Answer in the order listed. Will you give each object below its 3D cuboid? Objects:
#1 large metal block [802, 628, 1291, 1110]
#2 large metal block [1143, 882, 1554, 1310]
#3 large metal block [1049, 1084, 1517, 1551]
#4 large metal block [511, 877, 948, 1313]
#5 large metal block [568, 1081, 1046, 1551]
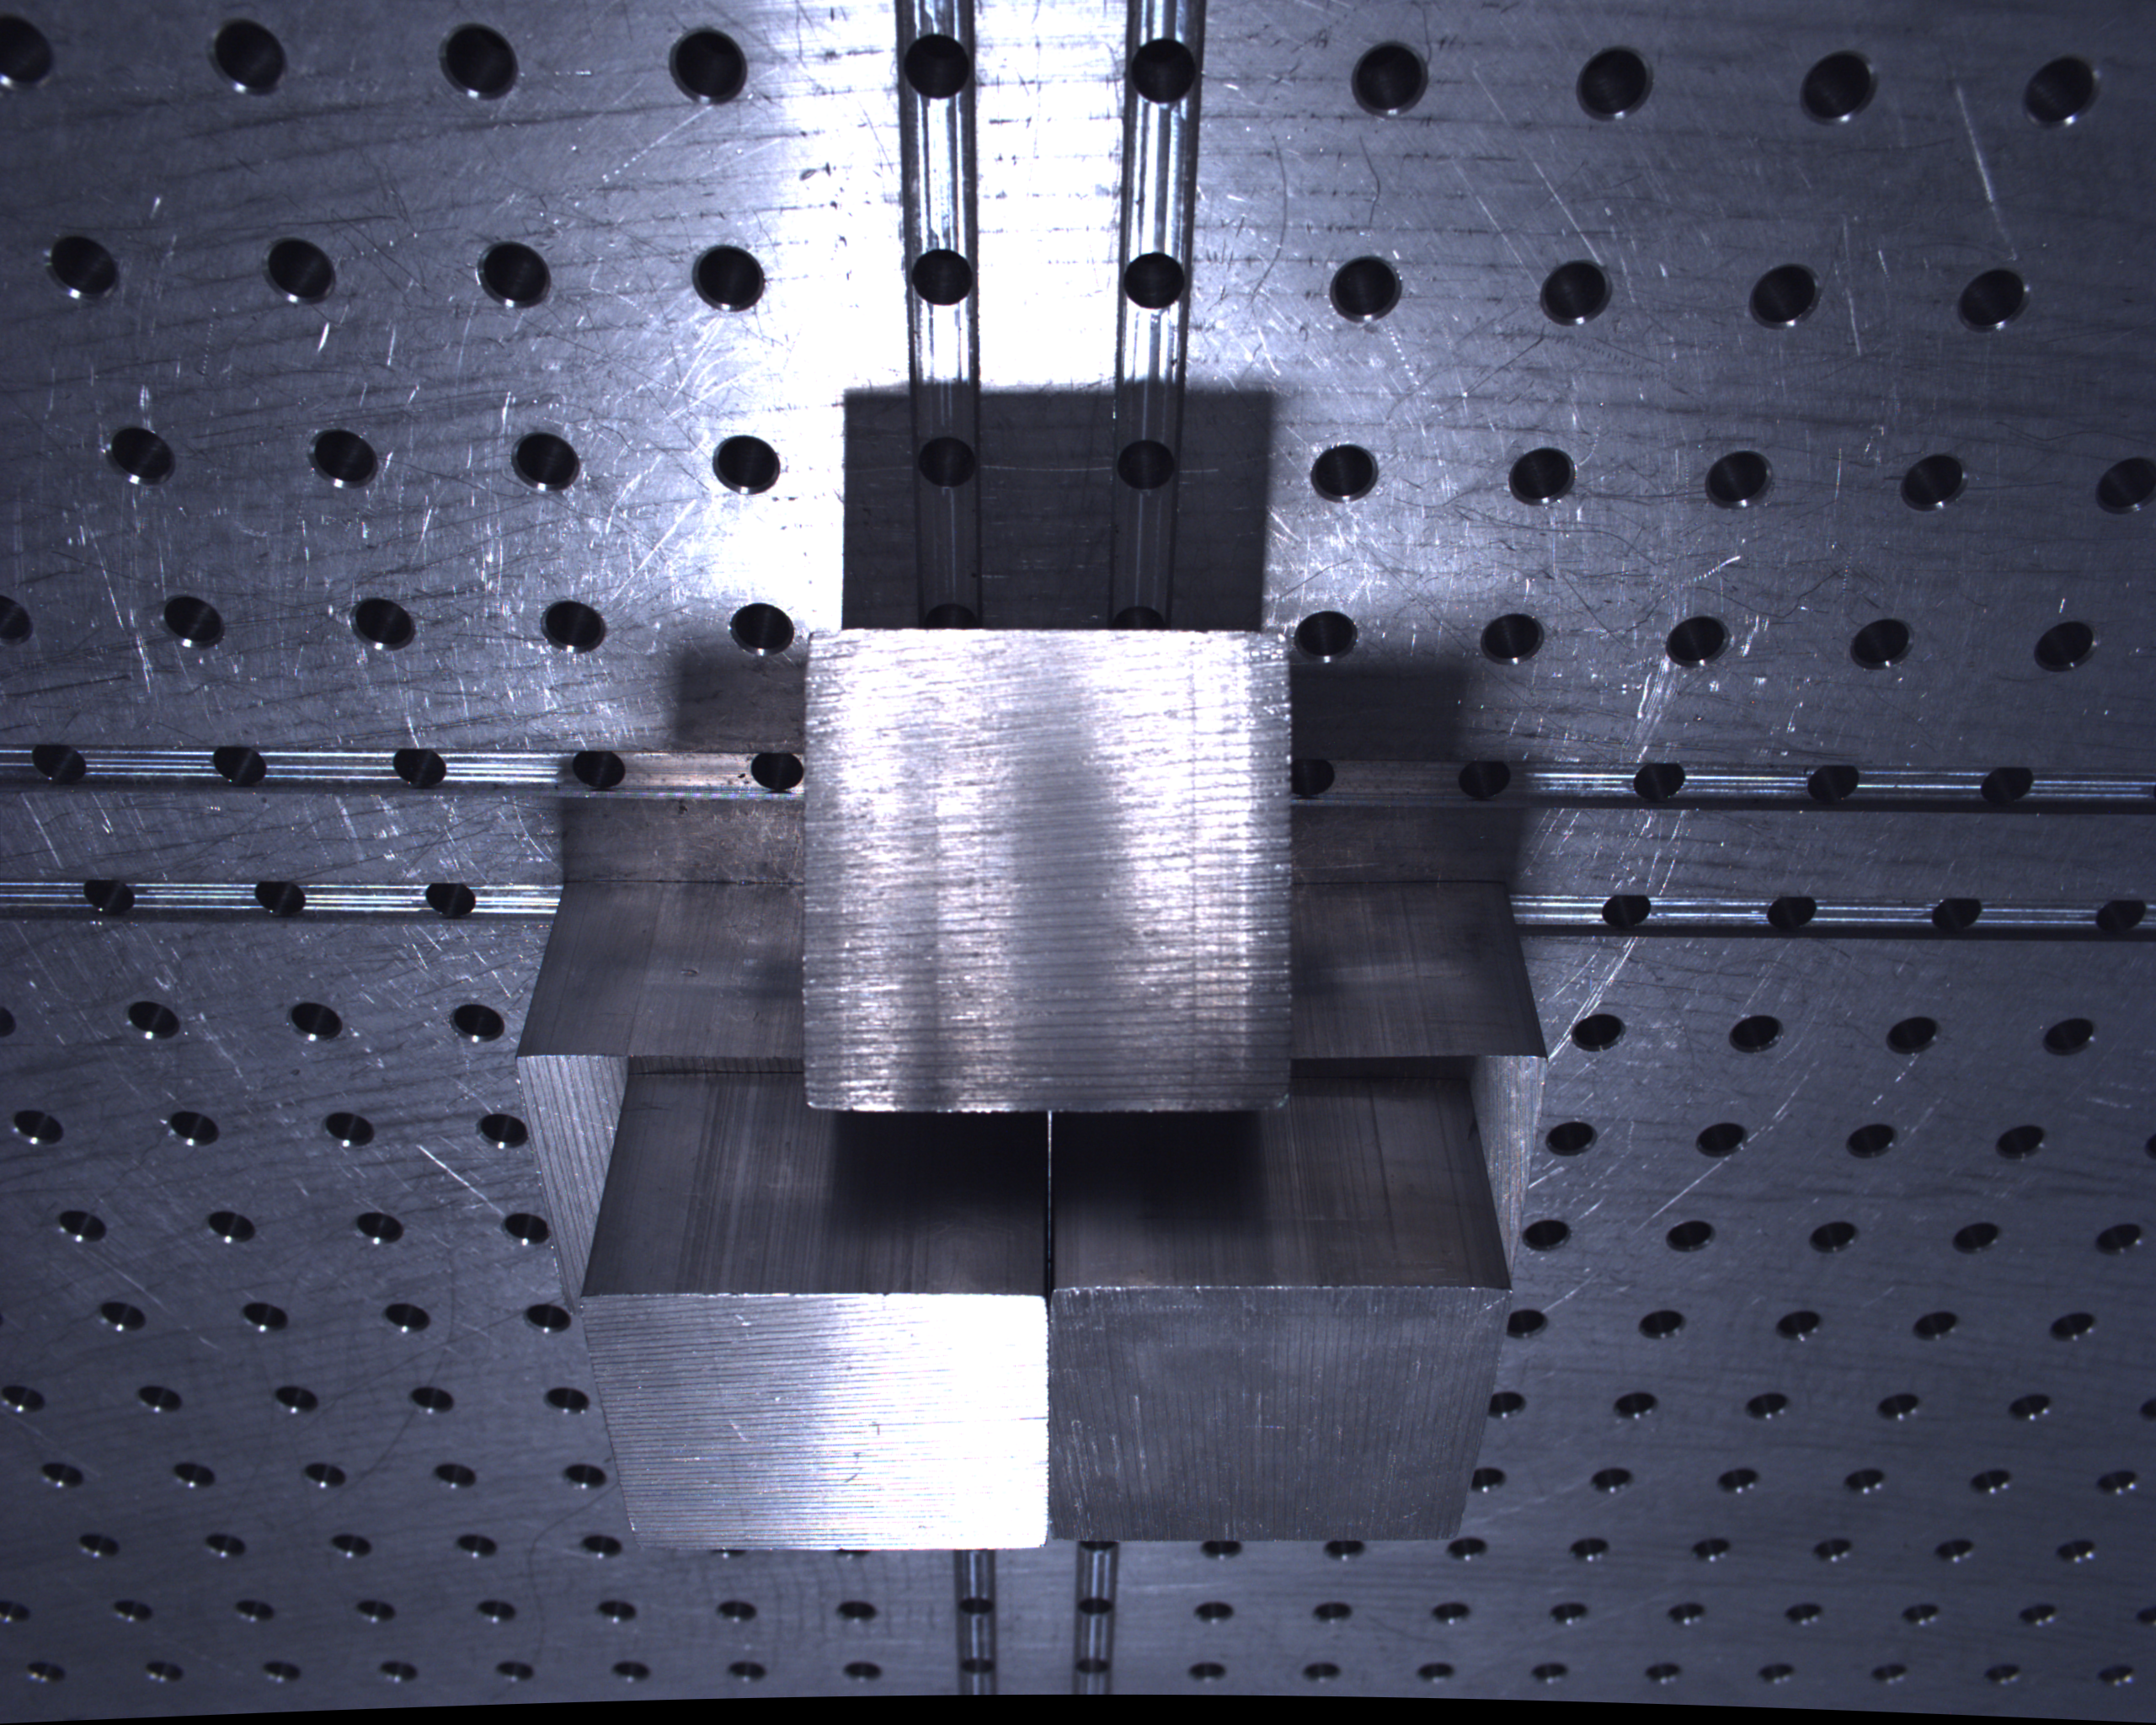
[{"bbox_3d":[-0.005,0.002,0.370,0.081,0.050,0.080,0,88,-1],"label":"large metal block"},{"bbox_3d":[0.050,0.051,0.439,0.081,0.050,0.079,-1,130,0],"label":"large metal block"},{"bbox_3d":[0.035,0.089,0.403,0.081,0.050,0.079,0,130,-1],"label":"large metal block"},{"bbox_3d":[-0.068,0.050,0.438,0.081,0.050,0.079,1,130,-2],"label":"large metal block"},{"bbox_3d":[-0.047,0.087,0.400,0.081,0.050,0.079,0,130,-1],"label":"large metal block"}]
